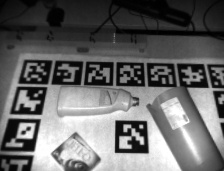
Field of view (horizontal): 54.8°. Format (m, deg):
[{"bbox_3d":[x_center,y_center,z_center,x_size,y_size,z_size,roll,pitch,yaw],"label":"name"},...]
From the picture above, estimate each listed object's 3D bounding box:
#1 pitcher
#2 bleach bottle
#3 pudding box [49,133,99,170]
[{"bbox_3d":[0.213,0.139,0.633,0.191,0.132,0.241,-6,63,-43],"label":"pitcher"},{"bbox_3d":[-0.046,0.050,0.690,0.251,0.068,0.102,-2,68,-4],"label":"bleach bottle"},{"bbox_3d":[-0.107,0.208,0.616,0.090,0.039,0.113,-39,72,-25],"label":"pudding box"}]
